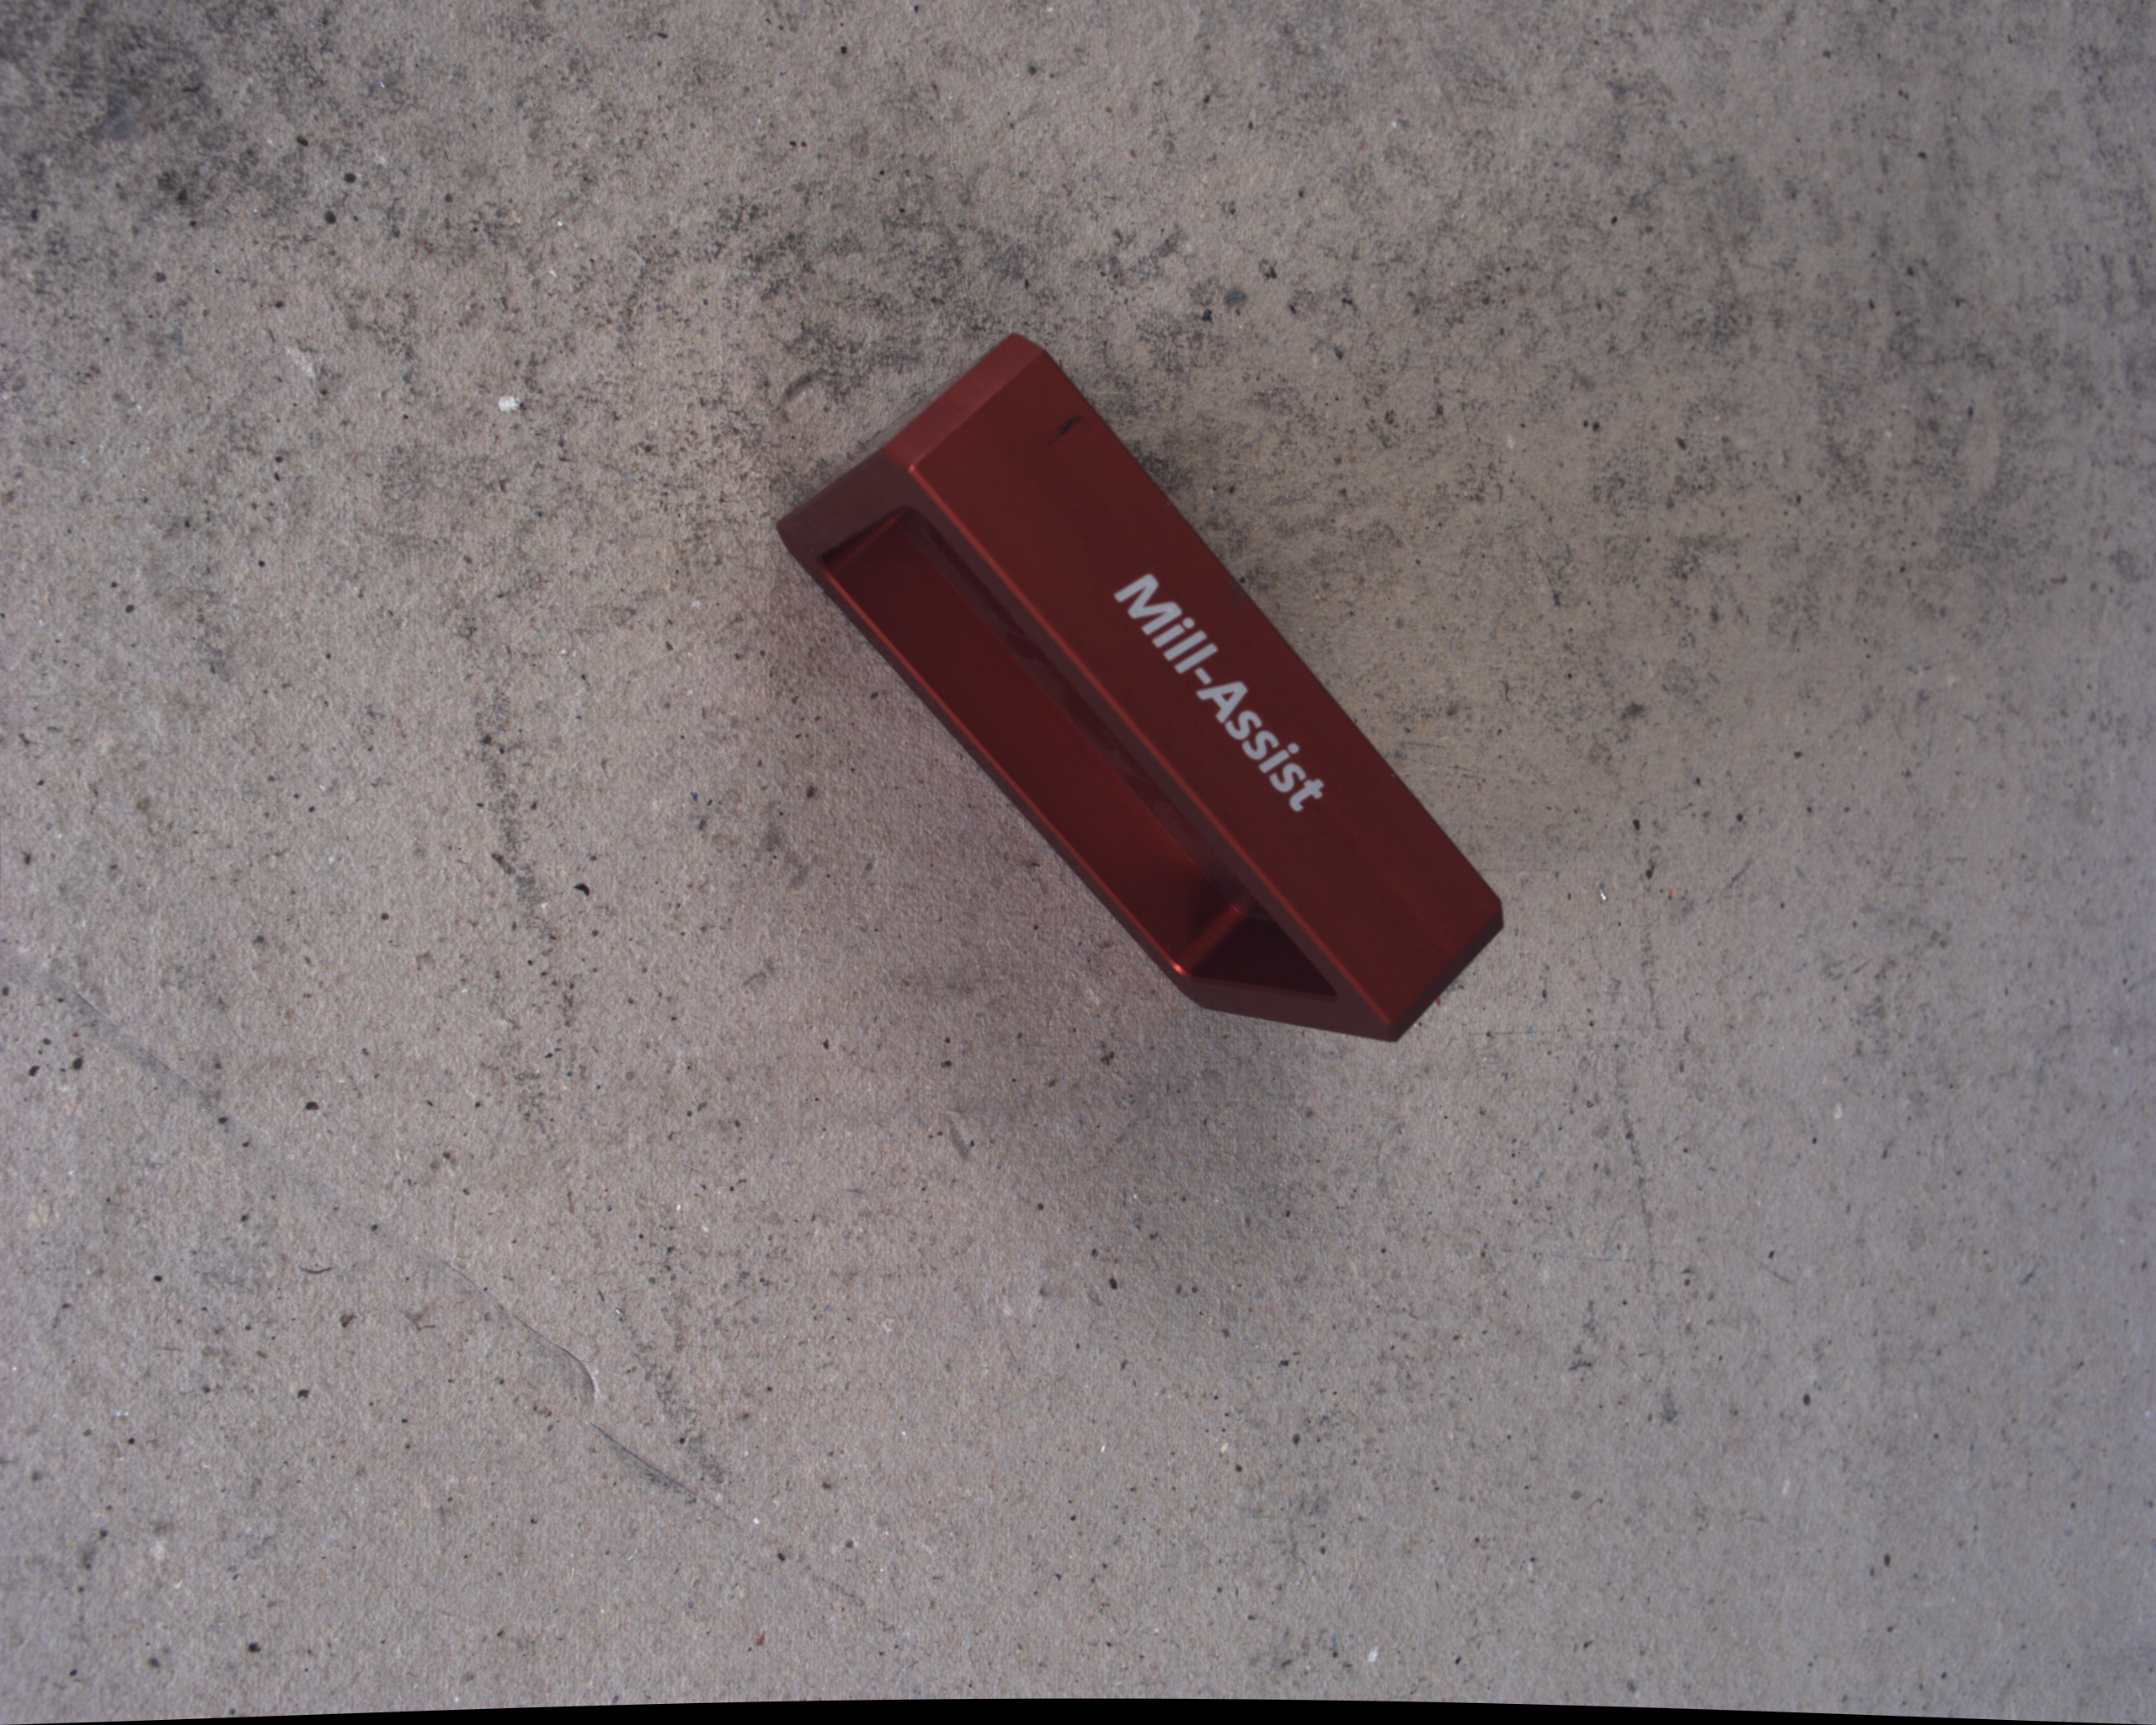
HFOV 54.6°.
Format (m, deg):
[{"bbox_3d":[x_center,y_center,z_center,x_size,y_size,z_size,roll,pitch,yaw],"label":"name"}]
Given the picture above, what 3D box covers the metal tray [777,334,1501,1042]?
[{"bbox_3d":[0.008,-0.027,0.378,0.030,0.090,0.130,-45,105,-14],"label":"metal tray"}]
